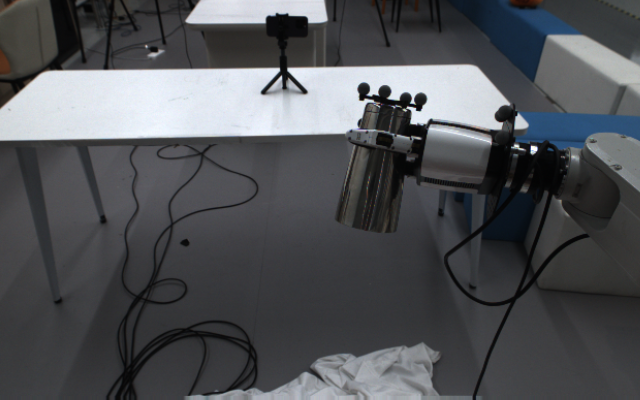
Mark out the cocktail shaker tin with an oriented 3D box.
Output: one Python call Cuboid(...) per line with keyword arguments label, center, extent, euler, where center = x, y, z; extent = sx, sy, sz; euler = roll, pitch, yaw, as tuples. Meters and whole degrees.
Cuboid(label="cocktail shaker tin", center=(0.084, -0.051, 0.692), extent=(0.093, 0.170, 0.093), euler=(10, 9, -2))
